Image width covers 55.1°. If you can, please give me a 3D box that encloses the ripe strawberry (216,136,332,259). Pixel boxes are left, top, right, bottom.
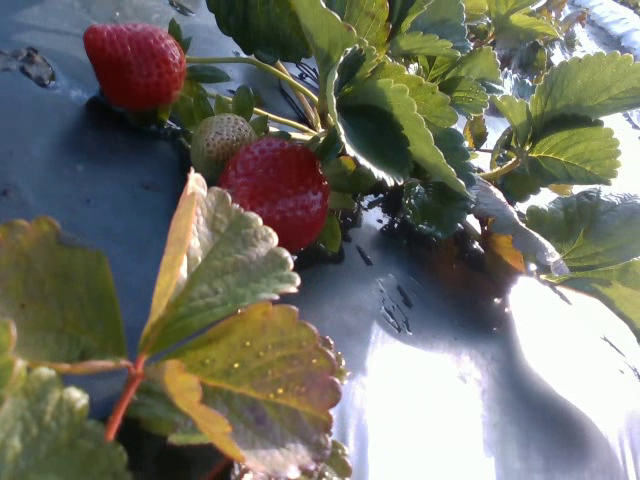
[{"bbox_3d":[-0.023,-0.018,0.238,0.048,0.050,0.064,-1,24,33],"label":"ripe strawberry"}]
